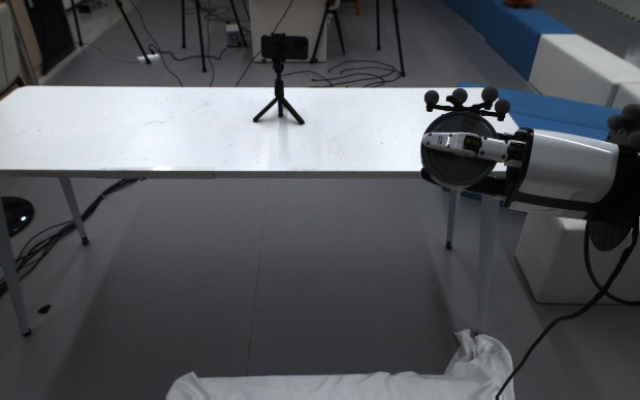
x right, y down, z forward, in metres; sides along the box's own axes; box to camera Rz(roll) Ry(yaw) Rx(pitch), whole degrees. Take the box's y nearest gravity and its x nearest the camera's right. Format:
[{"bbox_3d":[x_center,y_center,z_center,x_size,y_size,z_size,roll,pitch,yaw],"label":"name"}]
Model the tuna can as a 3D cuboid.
[{"bbox_3d":[0.160,-0.061,0.556,0.085,0.085,0.034,10,-6,12],"label":"tuna can"}]
